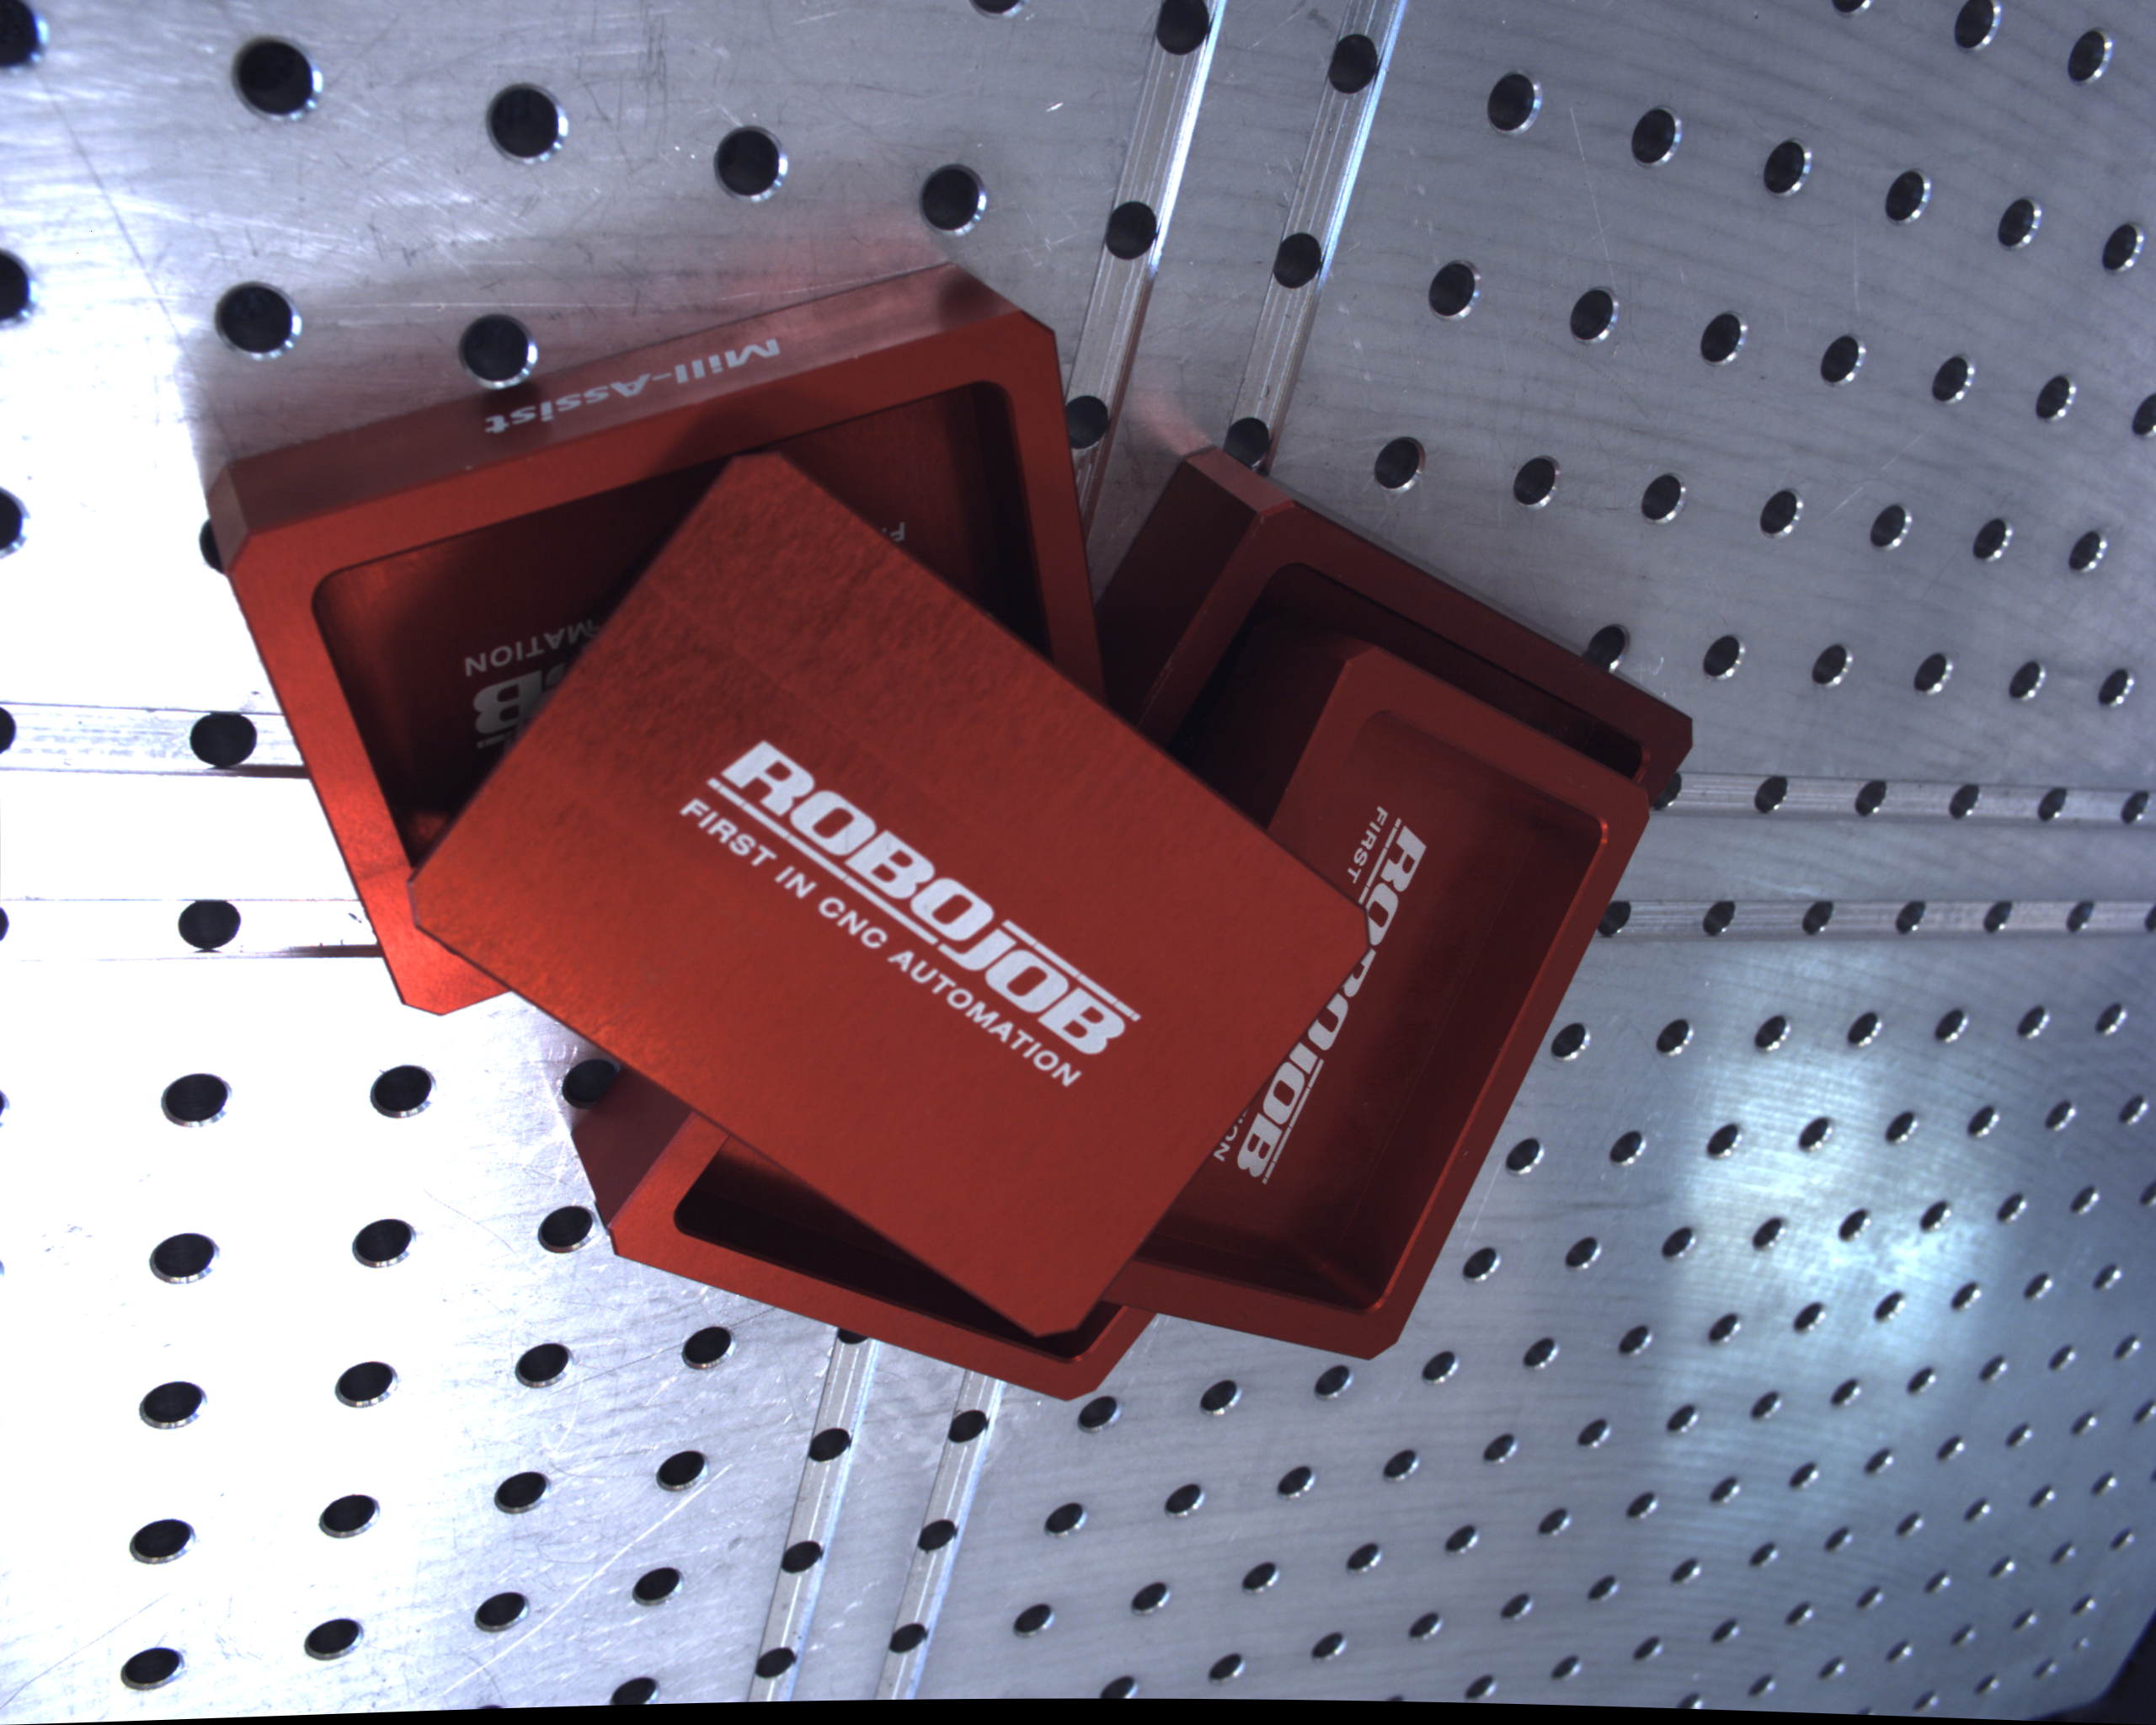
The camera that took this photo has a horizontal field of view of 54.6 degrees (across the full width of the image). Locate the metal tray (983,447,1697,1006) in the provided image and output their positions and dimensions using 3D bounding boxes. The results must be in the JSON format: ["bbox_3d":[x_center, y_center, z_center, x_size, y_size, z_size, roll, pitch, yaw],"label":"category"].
[{"bbox_3d":[0.056,-0.017,0.426,0.131,0.030,0.090,21,107,-35],"label":"metal tray"}]

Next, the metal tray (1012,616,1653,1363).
[{"bbox_3d":[0.050,0.028,0.411,0.090,0.030,0.129,22,95,-36],"label":"metal tray"}]

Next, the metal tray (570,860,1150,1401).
[{"bbox_3d":[-0.024,0.054,0.428,0.131,0.030,0.090,29,102,-38],"label":"metal tray"}]

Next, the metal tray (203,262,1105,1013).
[{"bbox_3d":[-0.064,-0.038,0.349,0.131,0.030,0.090,-20,126,-16],"label":"metal tray"}]

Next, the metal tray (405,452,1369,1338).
[{"bbox_3d":[-0.029,0.006,0.343,0.130,0.030,0.090,37,90,-17],"label":"metal tray"}]
